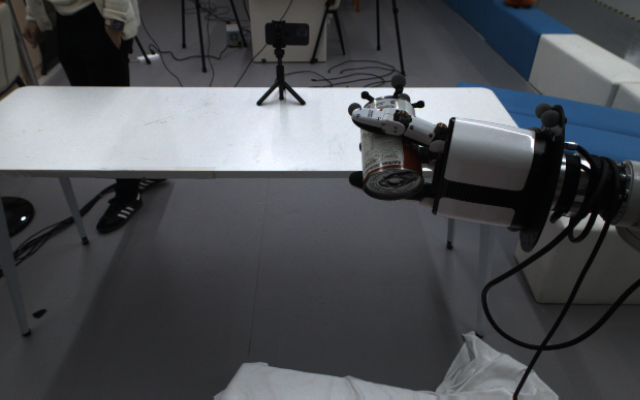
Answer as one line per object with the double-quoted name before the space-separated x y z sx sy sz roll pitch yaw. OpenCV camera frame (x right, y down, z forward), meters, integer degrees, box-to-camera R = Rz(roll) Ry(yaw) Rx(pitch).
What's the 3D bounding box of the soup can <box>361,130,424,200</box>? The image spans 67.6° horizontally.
"soup can" 0.082 -0.060 0.560 0.067 0.067 0.101 1 62 -2
